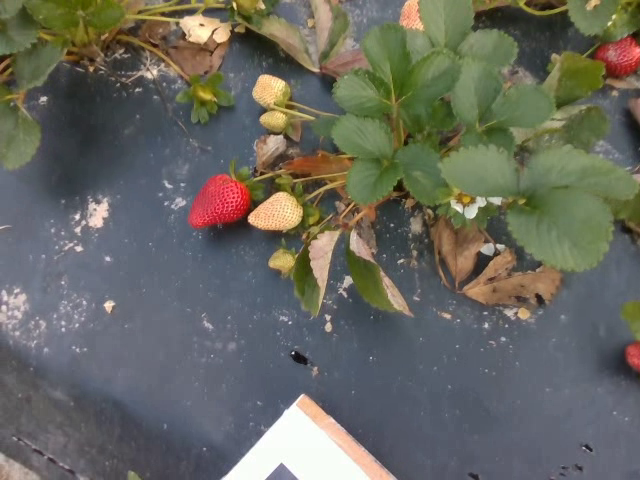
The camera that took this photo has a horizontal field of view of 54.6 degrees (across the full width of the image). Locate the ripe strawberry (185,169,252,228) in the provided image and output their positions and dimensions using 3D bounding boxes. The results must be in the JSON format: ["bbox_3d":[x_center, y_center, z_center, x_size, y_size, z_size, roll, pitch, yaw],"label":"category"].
[{"bbox_3d":[-0.080,-0.028,0.479,0.050,0.059,0.034,32,-32,13],"label":"ripe strawberry"}]
